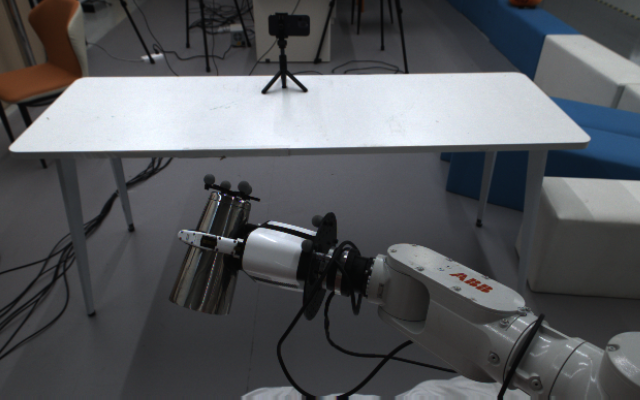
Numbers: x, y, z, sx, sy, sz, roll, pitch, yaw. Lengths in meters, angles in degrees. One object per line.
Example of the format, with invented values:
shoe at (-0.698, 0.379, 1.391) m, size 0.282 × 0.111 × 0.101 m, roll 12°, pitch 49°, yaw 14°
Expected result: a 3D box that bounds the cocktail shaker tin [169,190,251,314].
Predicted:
cocktail shaker tin at (-0.161, 0.078, 0.735) m, size 0.093 × 0.170 × 0.093 m, roll 15°, pitch -6°, yaw 2°
